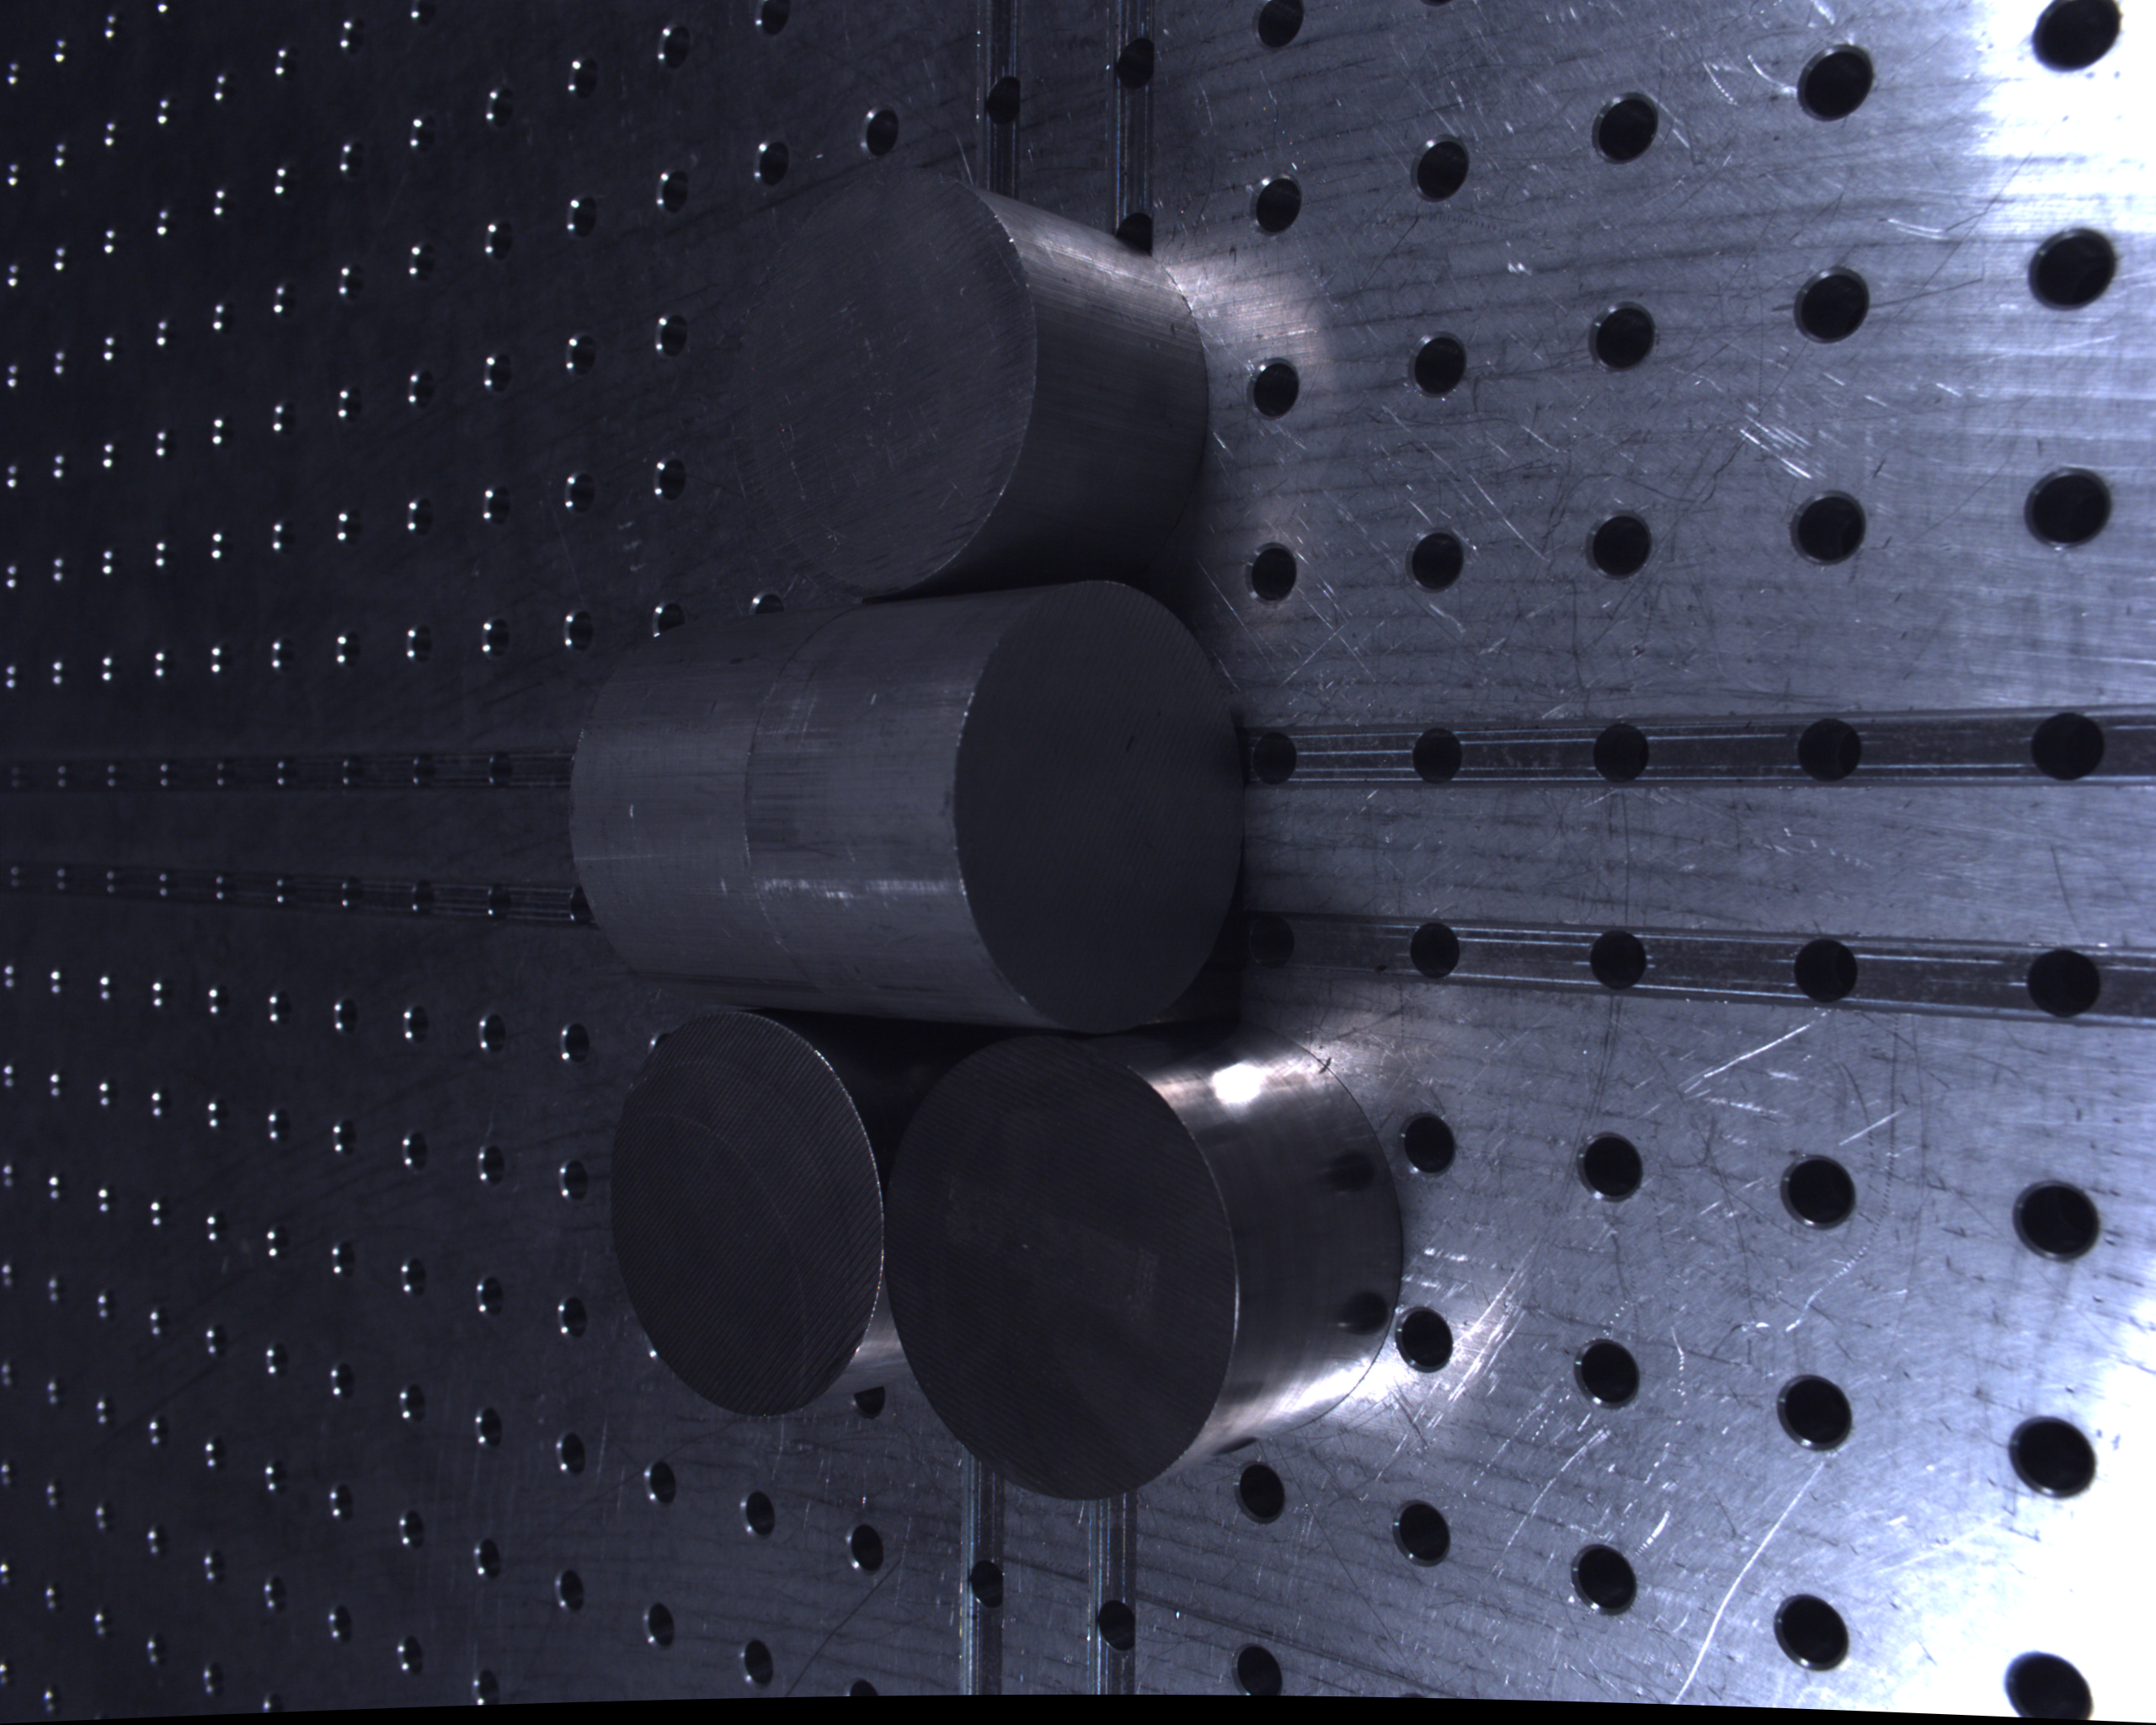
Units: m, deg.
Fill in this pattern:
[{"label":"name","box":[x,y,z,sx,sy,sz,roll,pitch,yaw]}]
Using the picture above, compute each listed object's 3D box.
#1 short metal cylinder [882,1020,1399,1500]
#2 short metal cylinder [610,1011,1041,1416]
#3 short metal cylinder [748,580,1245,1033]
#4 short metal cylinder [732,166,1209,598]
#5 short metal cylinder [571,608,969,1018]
[{"label":"short metal cylinder","box":[0.011,0.070,0.381,0.080,0.050,0.079,0,90,39]},{"label":"short metal cylinder","box":[-0.051,0.069,0.432,0.080,0.050,0.079,0,90,39]},{"label":"short metal cylinder","box":[-0.013,-0.010,0.383,0.050,0.081,0.079,1,91,40]},{"label":"short metal cylinder","box":[-0.022,-0.090,0.409,0.080,0.050,0.079,0,90,39]},{"label":"short metal cylinder","box":[-0.052,-0.010,0.415,0.050,0.081,0.079,1,91,40]}]
